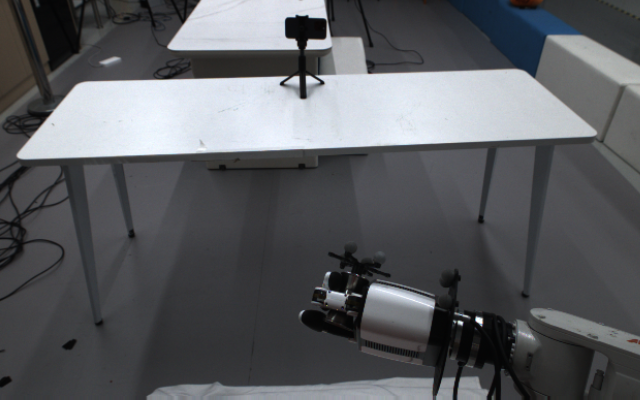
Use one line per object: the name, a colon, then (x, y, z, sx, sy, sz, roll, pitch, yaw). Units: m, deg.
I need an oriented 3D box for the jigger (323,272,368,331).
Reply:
jigger: (0.036, 0.131, 0.637, 0.043, 0.043, 0.071, 16, 70, 19)
